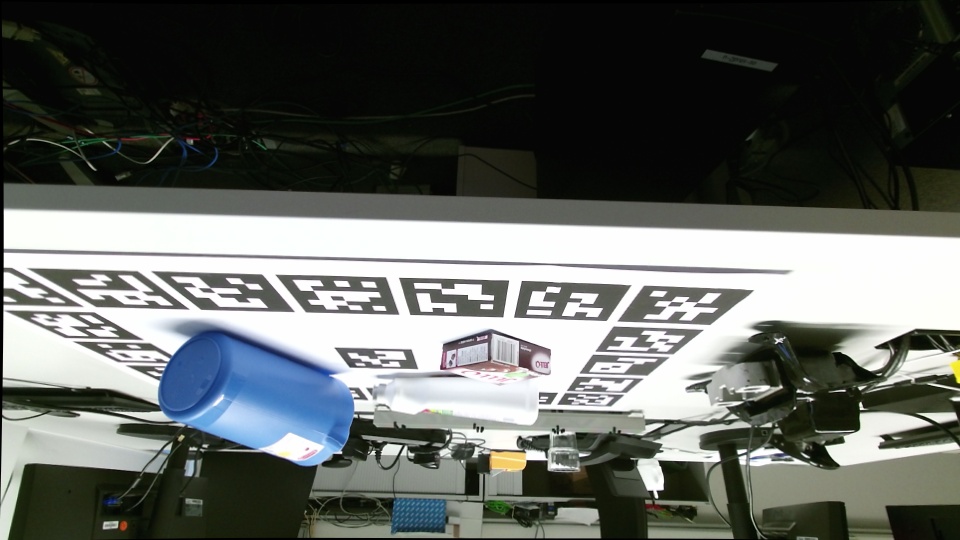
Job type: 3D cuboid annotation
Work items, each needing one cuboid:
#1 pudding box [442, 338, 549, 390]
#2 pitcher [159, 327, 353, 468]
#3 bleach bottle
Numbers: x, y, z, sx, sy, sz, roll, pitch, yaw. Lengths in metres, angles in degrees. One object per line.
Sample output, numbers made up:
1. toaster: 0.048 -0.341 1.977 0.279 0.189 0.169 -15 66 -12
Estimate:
1. pudding box: 0.019 0.124 0.680 0.090 0.038 0.114 -18 144 42
2. pitcher: -0.303 0.169 0.732 0.188 0.133 0.243 24 162 38
3. bleach bottle: -0.041 0.212 0.830 0.252 0.067 0.103 1 147 4
